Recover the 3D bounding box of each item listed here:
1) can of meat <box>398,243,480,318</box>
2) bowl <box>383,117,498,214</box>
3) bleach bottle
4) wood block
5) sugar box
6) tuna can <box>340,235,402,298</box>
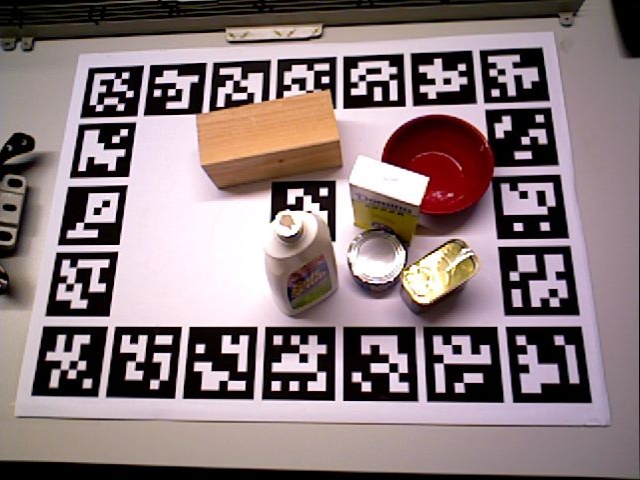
[{"bbox_3d":[0.155,0.054,0.728,0.101,0.085,0.057,-29,68,-7],"label":"can of meat"},{"bbox_3d":[0.173,-0.102,0.789,0.162,0.055,0.160,-3,71,8],"label":"bowl"},{"bbox_3d":[-0.035,0.026,0.664,0.102,0.253,0.067,-25,69,-5],"label":"bleach bottle"},{"bbox_3d":[-0.085,-0.145,0.814,0.205,0.090,0.090,-10,74,1],"label":"wood block"},{"bbox_3d":[0.089,-0.045,0.711,0.093,0.178,0.045,19,74,14],"label":"sugar box"},{"bbox_3d":[0.071,0.038,0.761,0.085,0.034,0.085,-2,74,6],"label":"tuna can"}]
